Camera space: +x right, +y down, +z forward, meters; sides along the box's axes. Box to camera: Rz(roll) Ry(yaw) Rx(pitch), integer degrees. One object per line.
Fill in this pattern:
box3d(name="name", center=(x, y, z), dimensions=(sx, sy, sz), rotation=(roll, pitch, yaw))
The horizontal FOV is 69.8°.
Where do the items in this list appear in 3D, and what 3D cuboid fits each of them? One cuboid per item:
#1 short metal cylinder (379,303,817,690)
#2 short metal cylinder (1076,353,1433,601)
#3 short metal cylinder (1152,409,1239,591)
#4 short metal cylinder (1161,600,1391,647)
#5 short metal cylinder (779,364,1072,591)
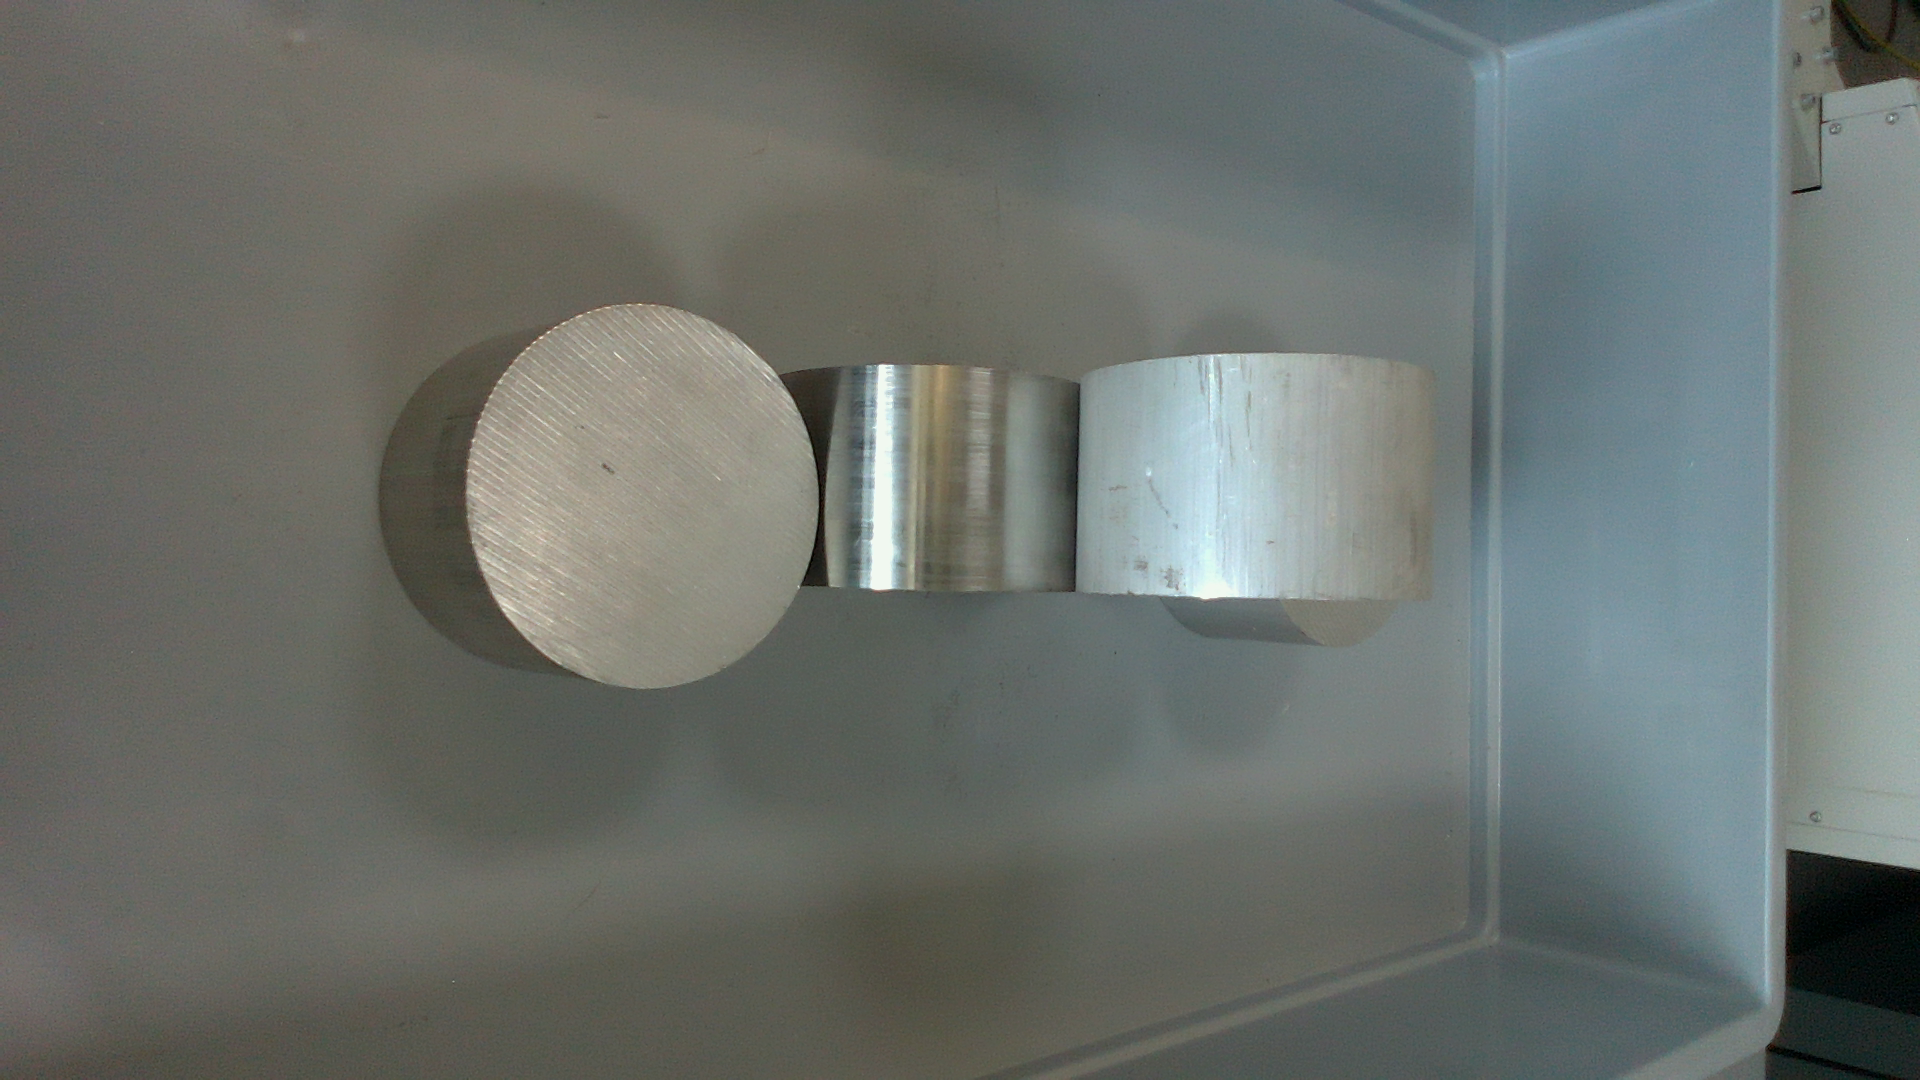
box3d(name="short metal cylinder", center=(-0.079, -0.009, 0.305), dimensions=(0.080, 0.050, 0.080), rotation=(0, 90, -40))
box3d(name="short metal cylinder", center=(0.067, -0.012, 0.318), dimensions=(0.080, 0.080, 0.050), rotation=(2, 88, -40))
box3d(name="short metal cylinder", center=(0.054, -0.011, 0.397), dimensions=(0.080, 0.080, 0.050), rotation=(2, 88, -40))
box3d(name="short metal cylinder", center=(0.106, -0.006, 0.459), dimensions=(0.080, 0.050, 0.080), rotation=(0, 90, -40))
box3d(name="short metal cylinder", center=(-0.007, -0.013, 0.345), dimensions=(0.080, 0.080, 0.050), rotation=(2, 88, -40))
